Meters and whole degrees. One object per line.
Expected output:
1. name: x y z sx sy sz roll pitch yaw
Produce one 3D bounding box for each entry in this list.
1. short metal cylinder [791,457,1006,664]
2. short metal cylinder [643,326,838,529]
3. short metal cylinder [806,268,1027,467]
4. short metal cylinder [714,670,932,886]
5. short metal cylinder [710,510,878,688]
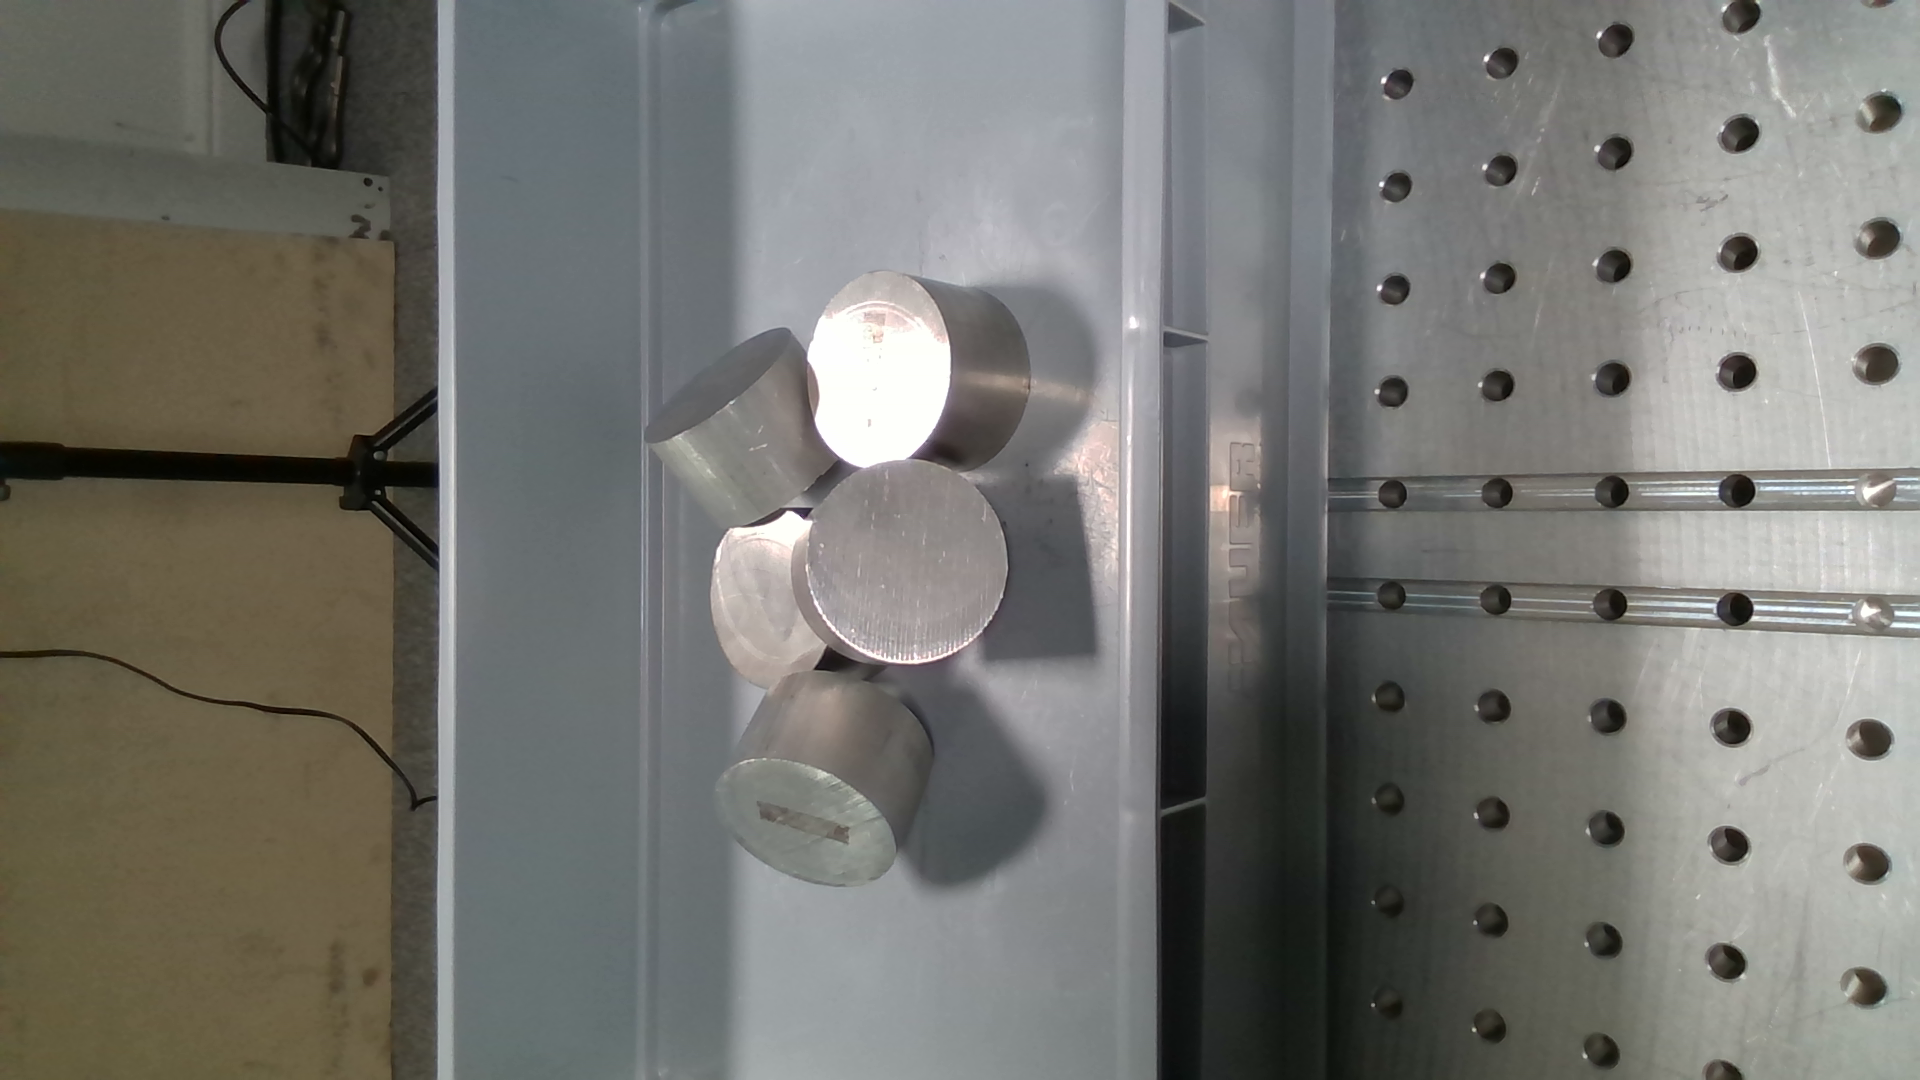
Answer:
1. short metal cylinder: -0.027 0.010 0.557 0.050 0.080 0.080 155 109 -75
2. short metal cylinder: -0.094 -0.050 0.614 0.080 0.080 0.050 -15 123 39
3. short metal cylinder: -0.019 -0.070 0.578 0.080 0.050 0.080 0 91 40
4. short metal cylinder: -0.057 0.102 0.587 0.080 0.050 0.080 11 132 13
5. short metal cylinder: -0.067 0.025 0.621 0.080 0.050 0.080 0 91 40
